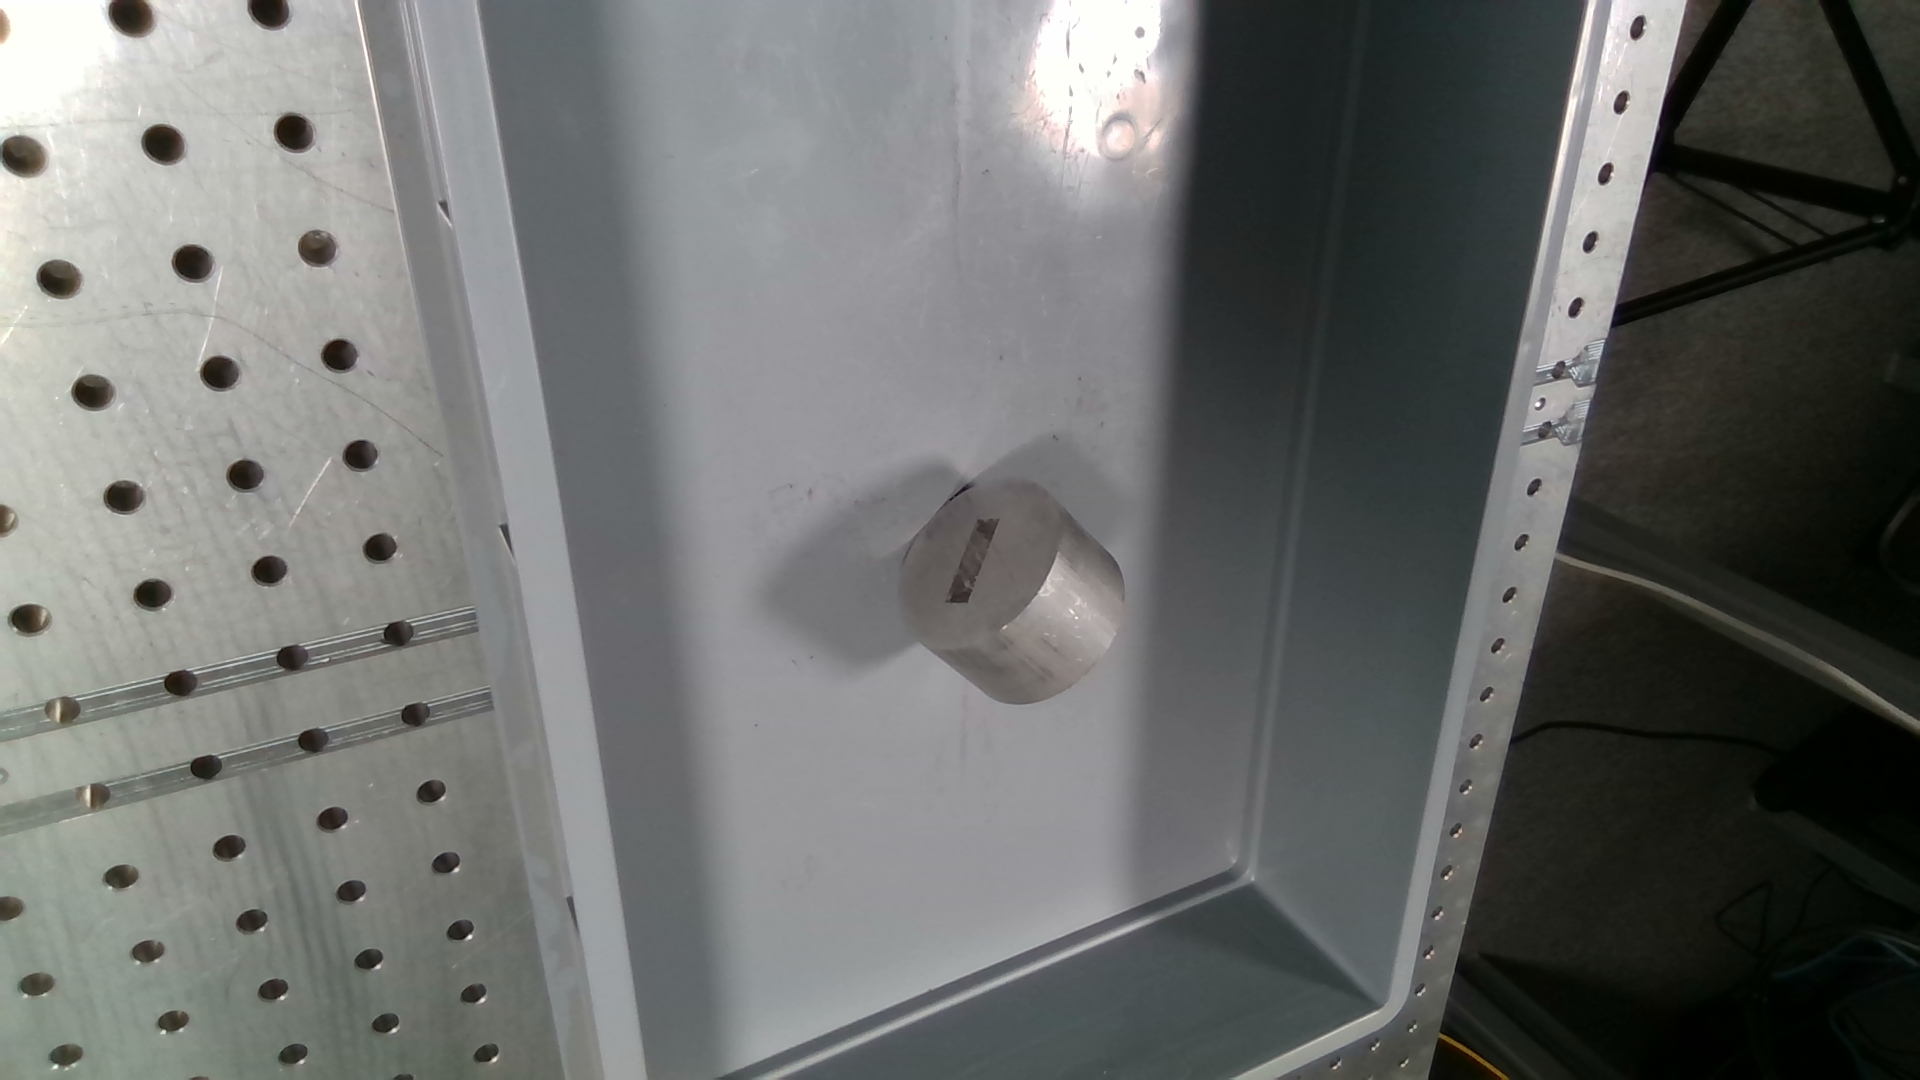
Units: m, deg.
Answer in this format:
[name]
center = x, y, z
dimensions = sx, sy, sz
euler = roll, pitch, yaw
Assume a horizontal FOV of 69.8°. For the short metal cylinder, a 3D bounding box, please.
[short metal cylinder]
center = 0.021, 0.021, 0.567
dimensions = 0.080, 0.080, 0.050
euler = -49, 129, 0
